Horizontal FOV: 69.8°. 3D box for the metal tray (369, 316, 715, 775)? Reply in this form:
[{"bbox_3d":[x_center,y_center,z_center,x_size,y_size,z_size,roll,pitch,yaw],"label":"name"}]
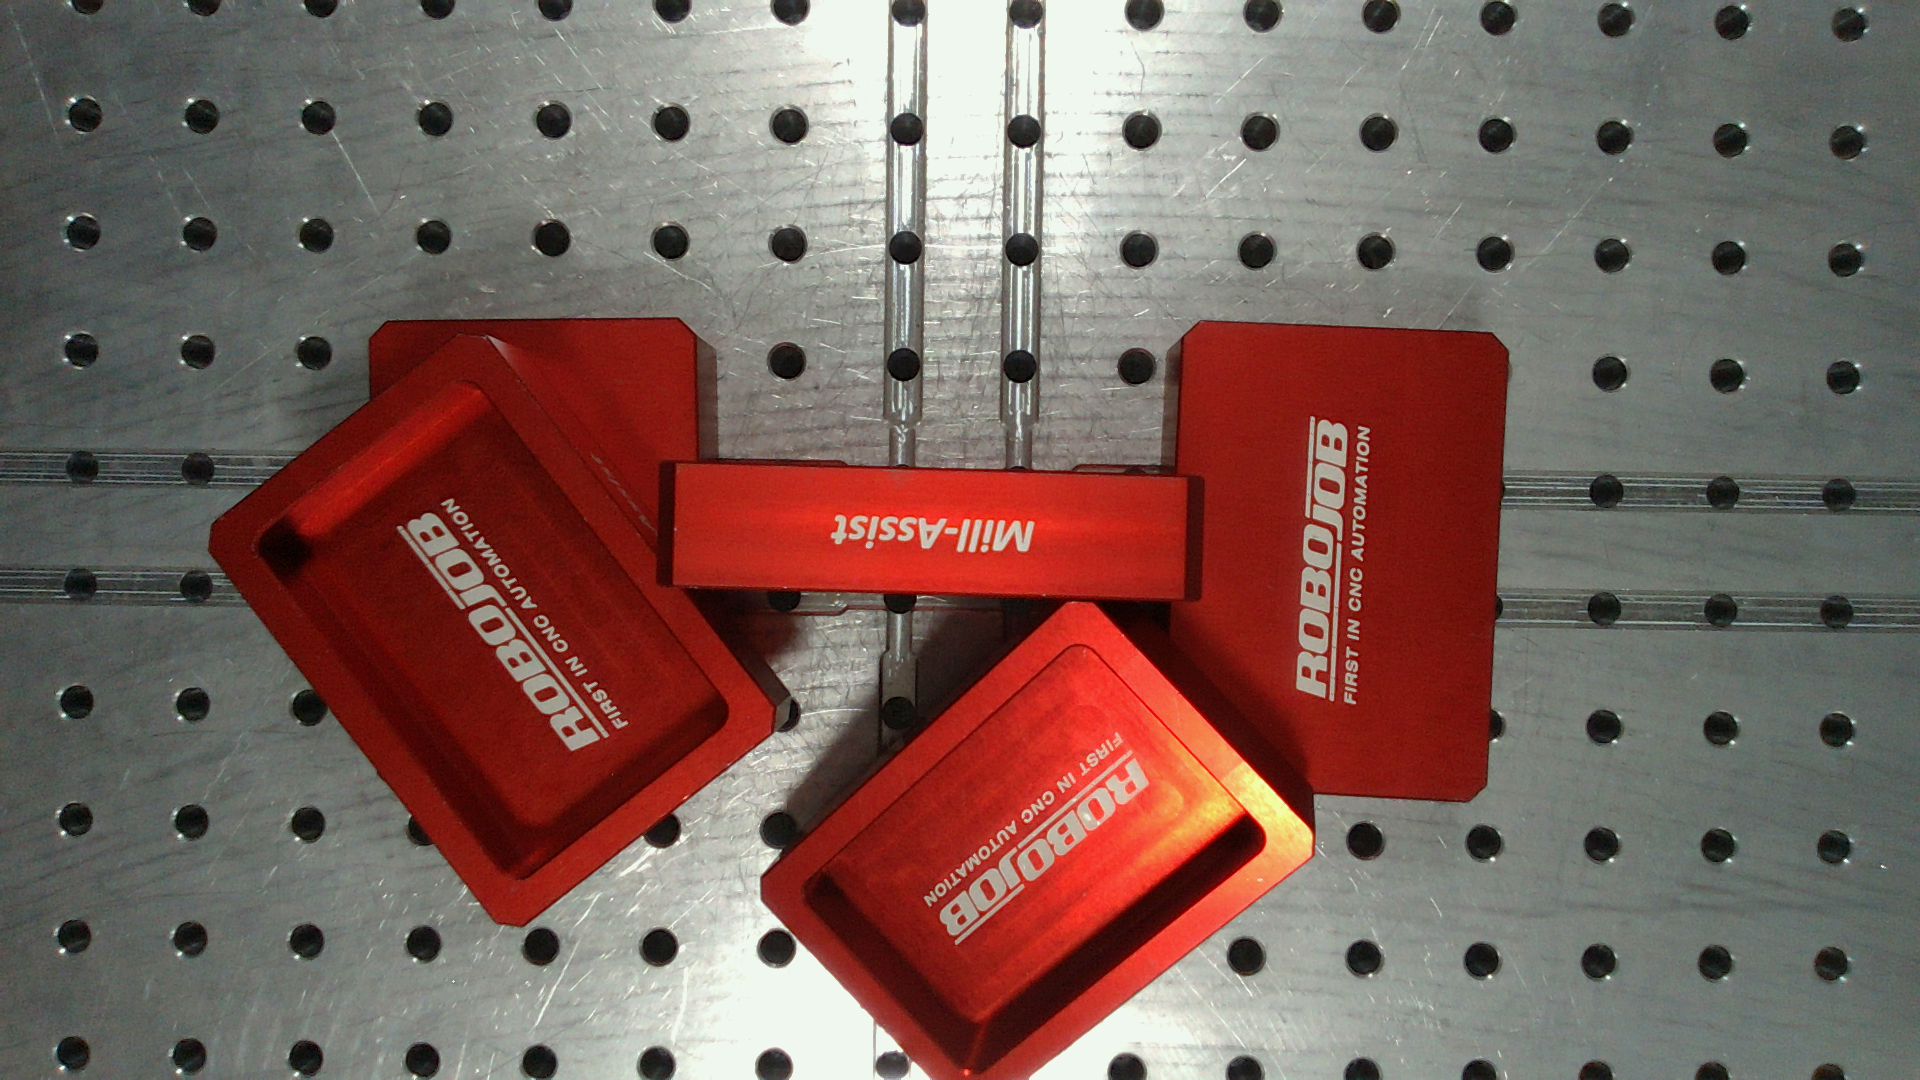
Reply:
[{"bbox_3d":[-0.117,0.004,0.395,0.090,0.030,0.130,-1,91,0],"label":"metal tray"}]

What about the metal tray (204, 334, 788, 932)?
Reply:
[{"bbox_3d":[-0.119,0.024,0.363,0.090,0.030,0.130,-38,91,0],"label":"metal tray"}]

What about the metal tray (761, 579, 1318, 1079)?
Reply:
[{"bbox_3d":[0.020,0.084,0.377,0.090,0.030,0.130,46,107,-1],"label":"metal tray"}]

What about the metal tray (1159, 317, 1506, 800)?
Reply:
[{"bbox_3d":[0.103,0.005,0.395,0.090,0.030,0.130,3,90,0],"label":"metal tray"}]

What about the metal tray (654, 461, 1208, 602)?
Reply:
[{"bbox_3d":[-0.007,-0.002,0.364,0.130,0.090,0.030,1,90,0],"label":"metal tray"}]
